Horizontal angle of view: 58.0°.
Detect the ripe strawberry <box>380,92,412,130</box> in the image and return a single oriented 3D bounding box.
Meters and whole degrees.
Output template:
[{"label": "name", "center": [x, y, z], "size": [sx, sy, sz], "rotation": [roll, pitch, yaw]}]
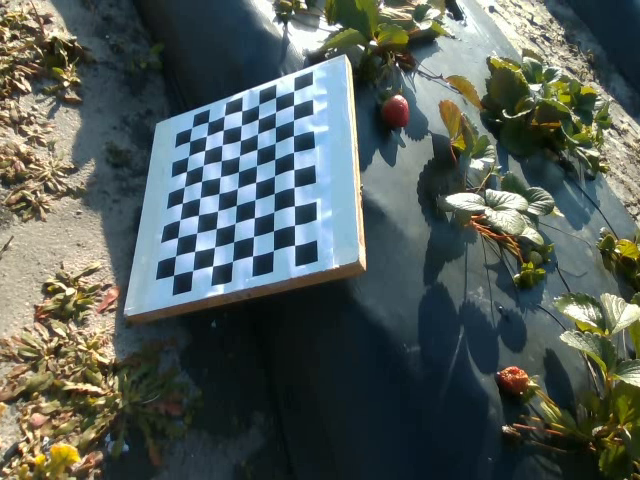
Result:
[{"label": "ripe strawberry", "center": [0.108, -0.169, 0.770], "size": [0.045, 0.063, 0.043], "rotation": [-29, -35, 9]}]
